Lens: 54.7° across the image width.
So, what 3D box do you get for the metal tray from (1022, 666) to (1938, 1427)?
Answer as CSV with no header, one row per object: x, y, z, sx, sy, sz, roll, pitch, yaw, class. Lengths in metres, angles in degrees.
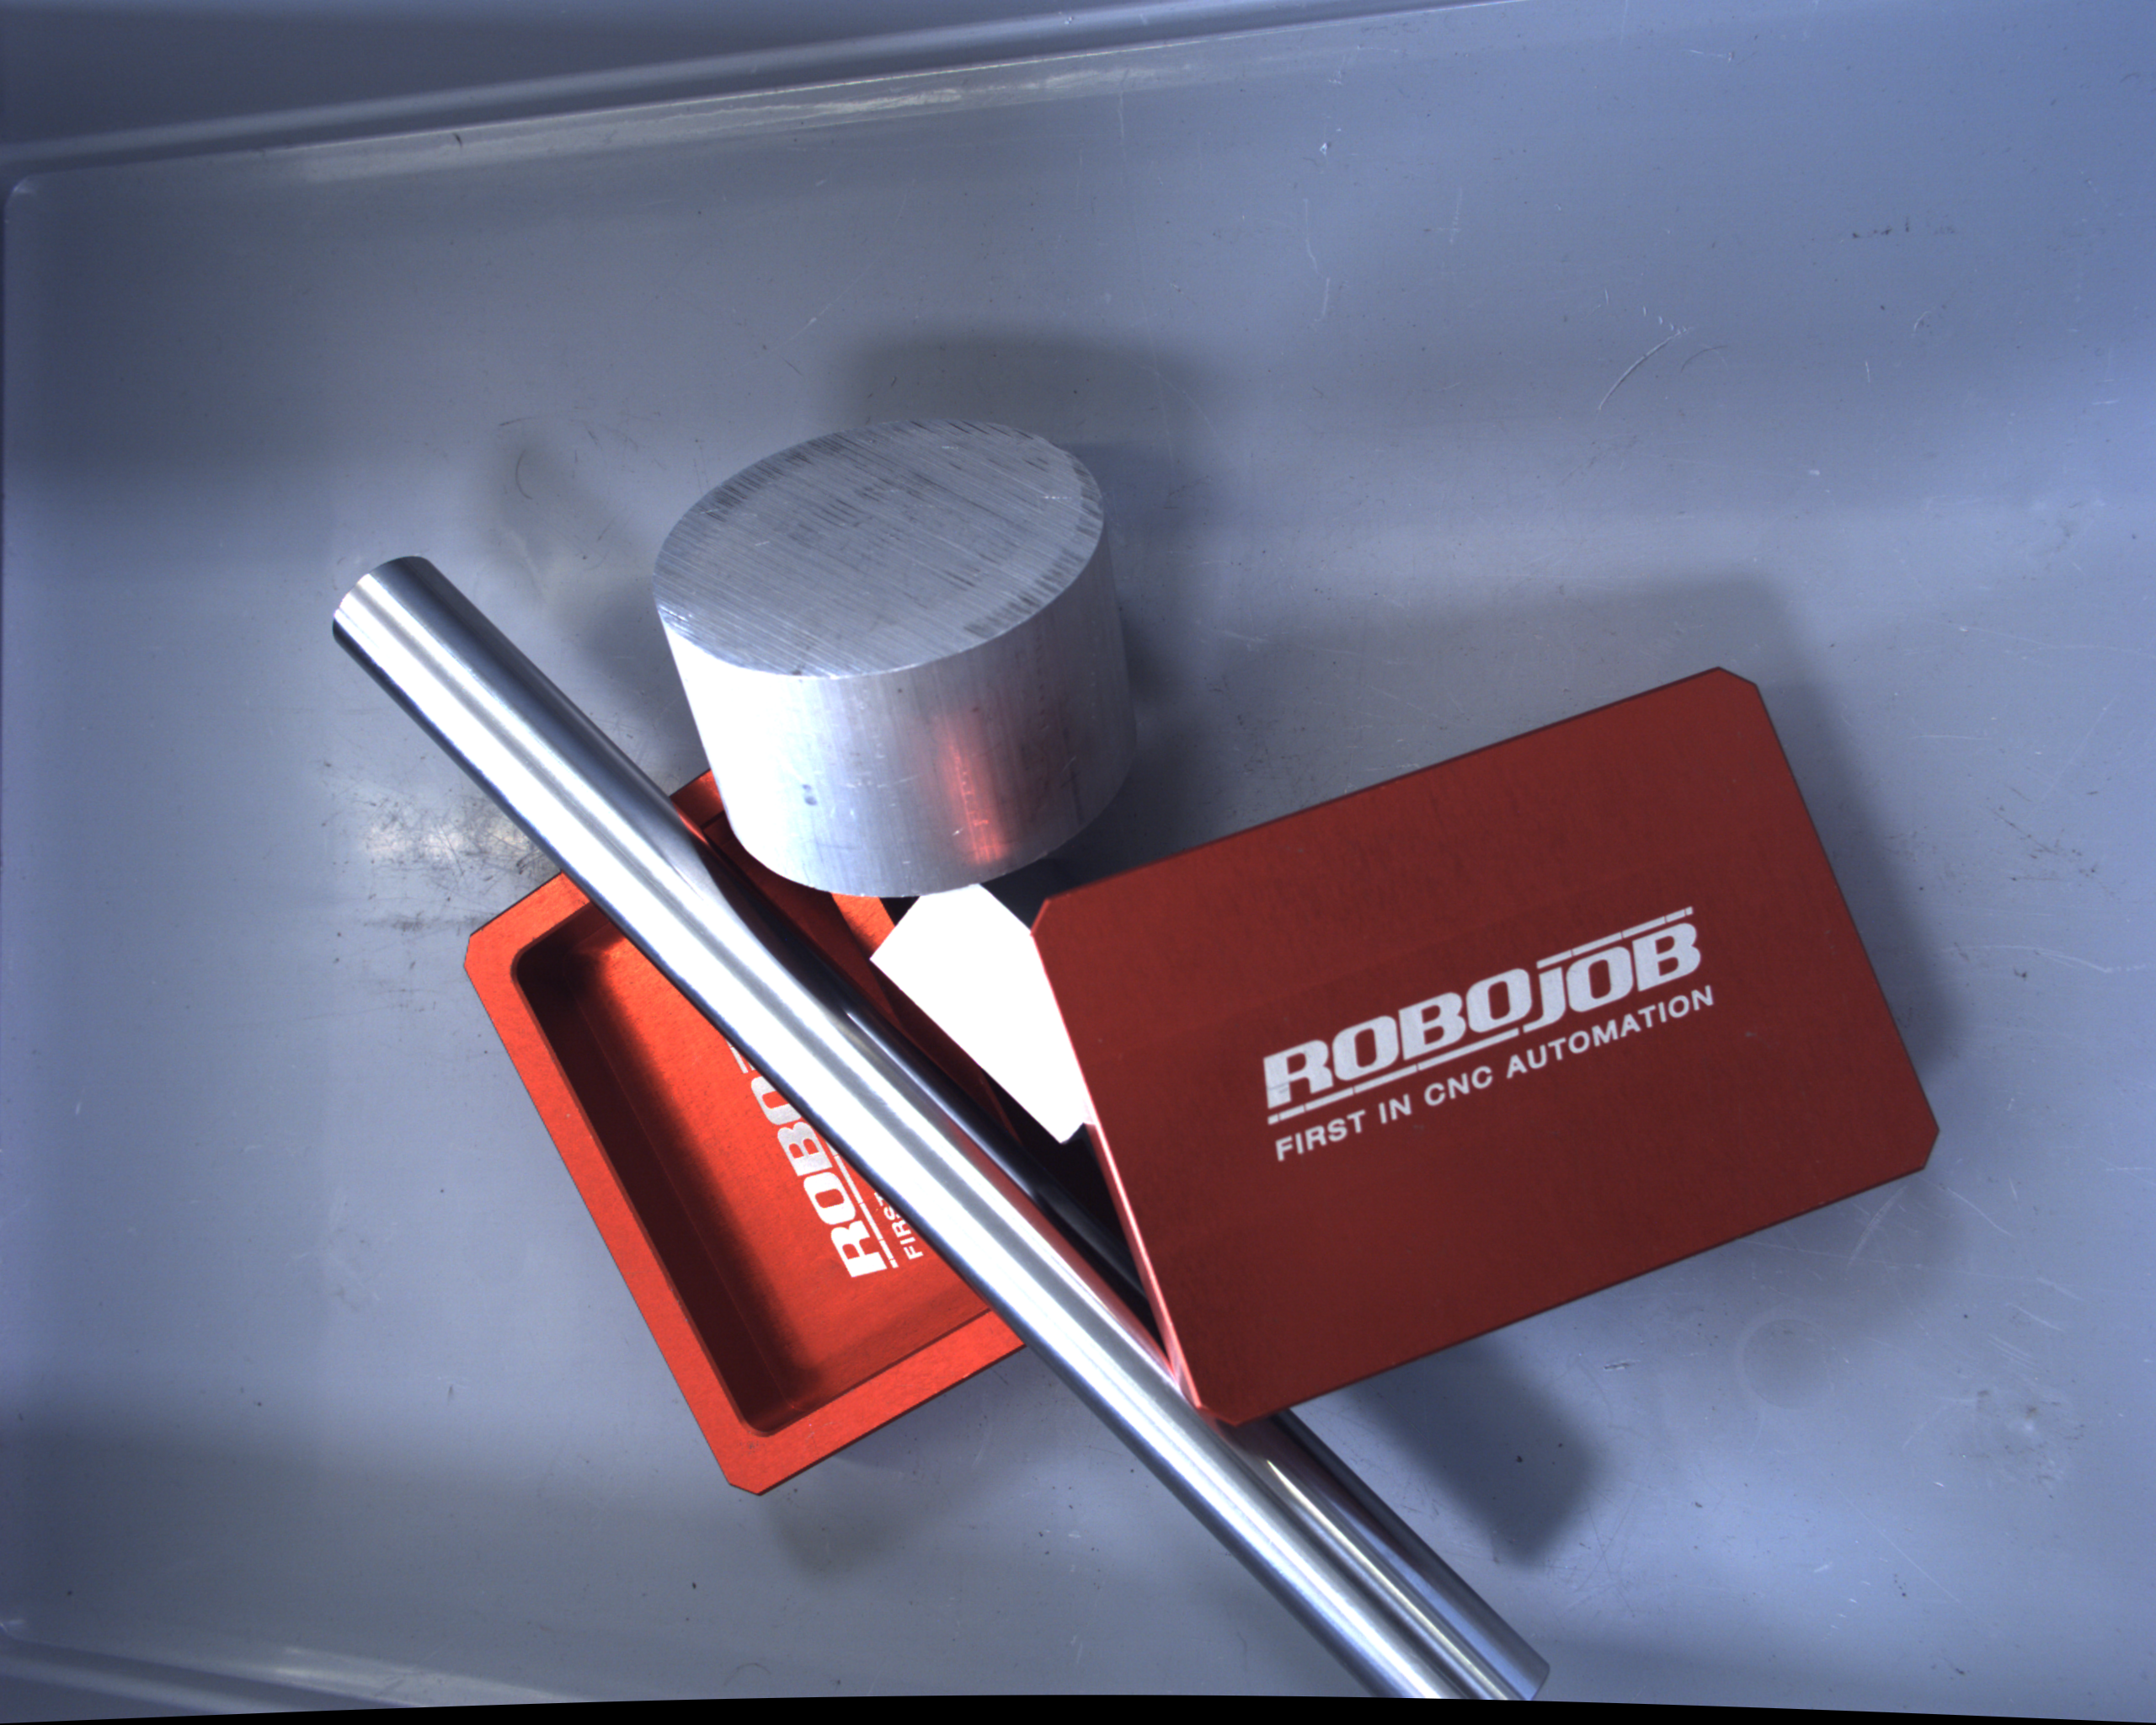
0.066,0.030,0.355,0.131,0.030,0.090,-19,83,-6,metal tray

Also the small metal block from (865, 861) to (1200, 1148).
-0.005,0.025,0.396,0.050,0.050,0.025,42,103,15,small metal block

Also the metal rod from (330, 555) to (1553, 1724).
-0.035,0.046,0.389,0.300,0.025,0.025,43,103,14,metal rod

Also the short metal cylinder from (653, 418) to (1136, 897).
-0.032,-0.039,0.384,0.080,0.080,0.050,9,135,19,short metal cylinder

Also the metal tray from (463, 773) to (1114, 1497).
-0.058,0.050,0.426,0.090,0.030,0.130,-33,80,17,metal tray
